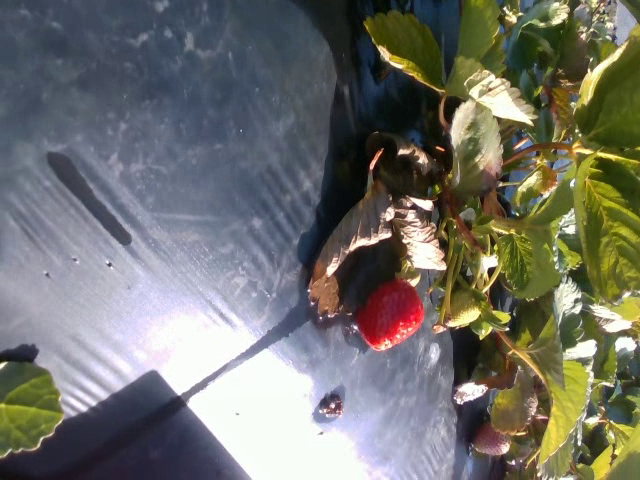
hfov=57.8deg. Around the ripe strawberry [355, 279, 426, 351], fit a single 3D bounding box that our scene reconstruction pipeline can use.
[{"bbox_3d":[0.028,0.041,0.260,0.037,0.047,0.054,13,34,22],"label":"ripe strawberry"}]
